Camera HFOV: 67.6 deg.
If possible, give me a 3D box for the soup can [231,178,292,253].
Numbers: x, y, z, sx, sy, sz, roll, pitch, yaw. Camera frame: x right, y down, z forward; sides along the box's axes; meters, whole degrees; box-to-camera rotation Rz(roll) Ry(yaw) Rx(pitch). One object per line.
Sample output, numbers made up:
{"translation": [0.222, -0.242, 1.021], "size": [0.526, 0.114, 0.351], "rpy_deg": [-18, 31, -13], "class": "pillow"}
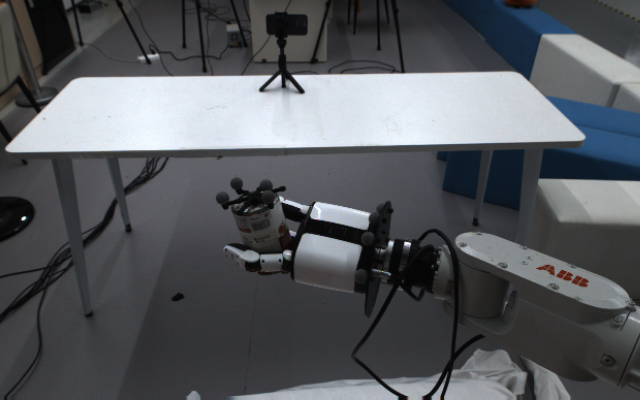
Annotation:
{"translation": [-0.075, 0.045, 0.670], "size": [0.067, 0.101, 0.067], "rpy_deg": [-11, 27, 6], "class": "soup can"}
